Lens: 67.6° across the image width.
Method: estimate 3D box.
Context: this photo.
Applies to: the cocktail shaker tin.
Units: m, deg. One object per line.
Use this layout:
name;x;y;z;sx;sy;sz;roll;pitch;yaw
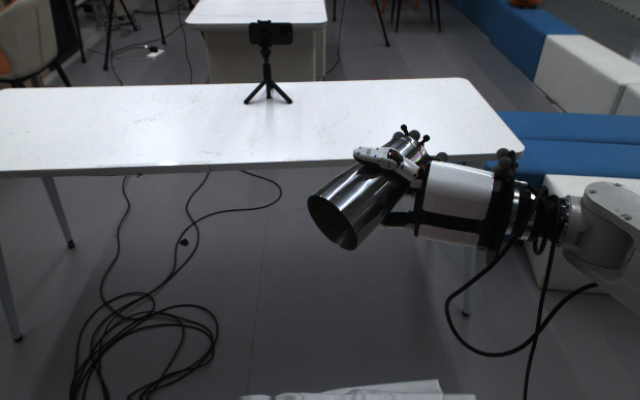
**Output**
cocktail shaker tin;0.075;-0.024;0.673;0.170;0.093;0.093;-38;50;-24
